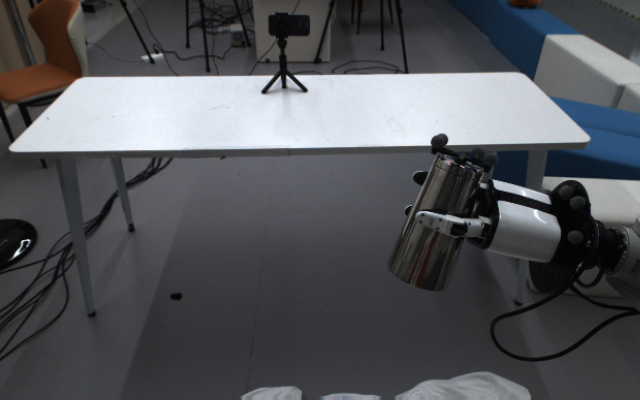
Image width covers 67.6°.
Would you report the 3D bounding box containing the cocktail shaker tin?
[{"bbox_3d":[0.163,0.027,0.667,0.093,0.170,0.093,15,17,-5],"label":"cocktail shaker tin"}]
